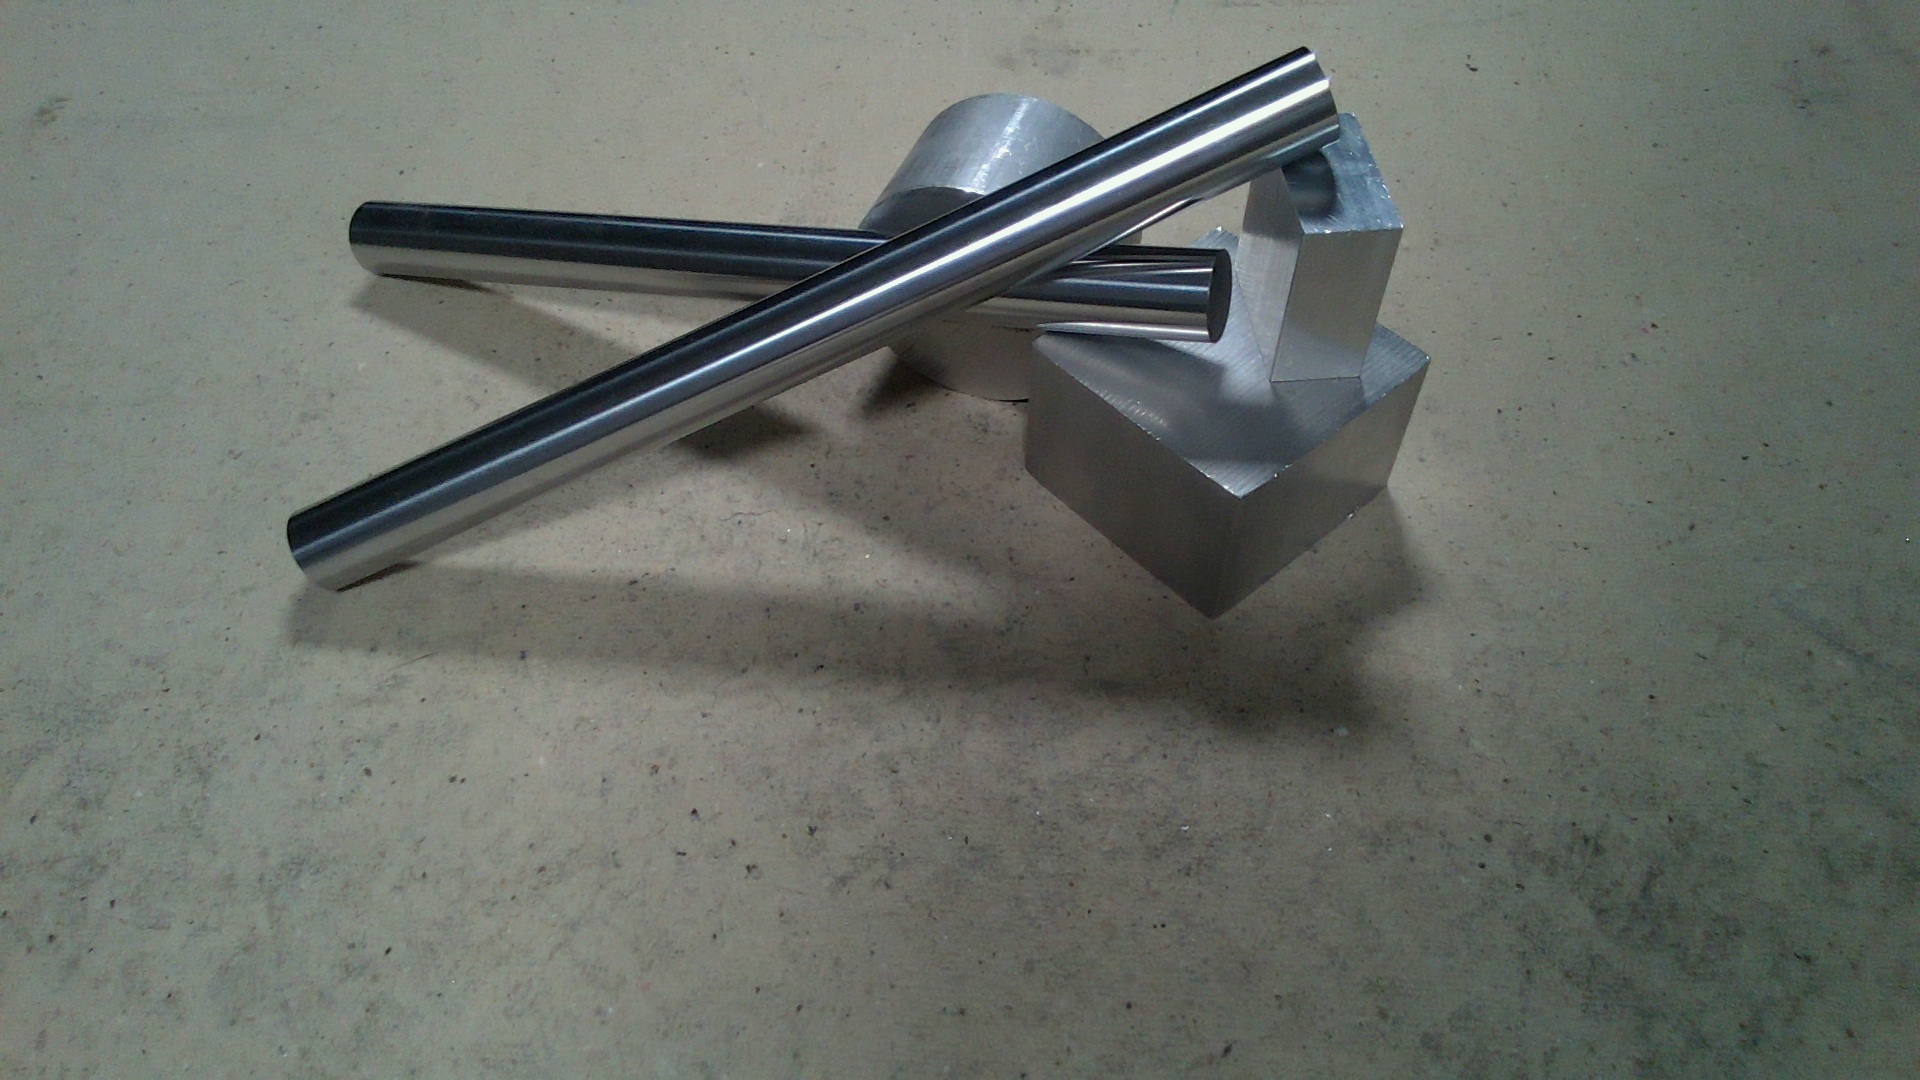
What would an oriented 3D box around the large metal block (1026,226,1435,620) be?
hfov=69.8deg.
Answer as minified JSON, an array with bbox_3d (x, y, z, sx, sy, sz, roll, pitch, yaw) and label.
[{"bbox_3d":[0.076,-0.037,0.405,0.080,0.050,0.080,-35,57,-24],"label":"large metal block"}]

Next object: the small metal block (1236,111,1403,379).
[{"bbox_3d":[0.095,-0.080,0.374,0.025,0.050,0.050,-4,50,-2],"label":"small metal block"}]

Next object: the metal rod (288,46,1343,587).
[{"bbox_3d":[-0.045,-0.055,0.369,0.300,0.025,0.025,-23,50,8],"label":"metal rod"}]

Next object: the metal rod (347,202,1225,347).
[{"bbox_3d":[-0.069,-0.085,0.426,0.299,0.025,0.025,9,49,22],"label":"metal rod"}]

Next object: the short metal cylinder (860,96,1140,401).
[{"bbox_3d":[0.012,-0.091,0.434,0.080,0.080,0.050,16,52,13],"label":"short metal cylinder"}]
